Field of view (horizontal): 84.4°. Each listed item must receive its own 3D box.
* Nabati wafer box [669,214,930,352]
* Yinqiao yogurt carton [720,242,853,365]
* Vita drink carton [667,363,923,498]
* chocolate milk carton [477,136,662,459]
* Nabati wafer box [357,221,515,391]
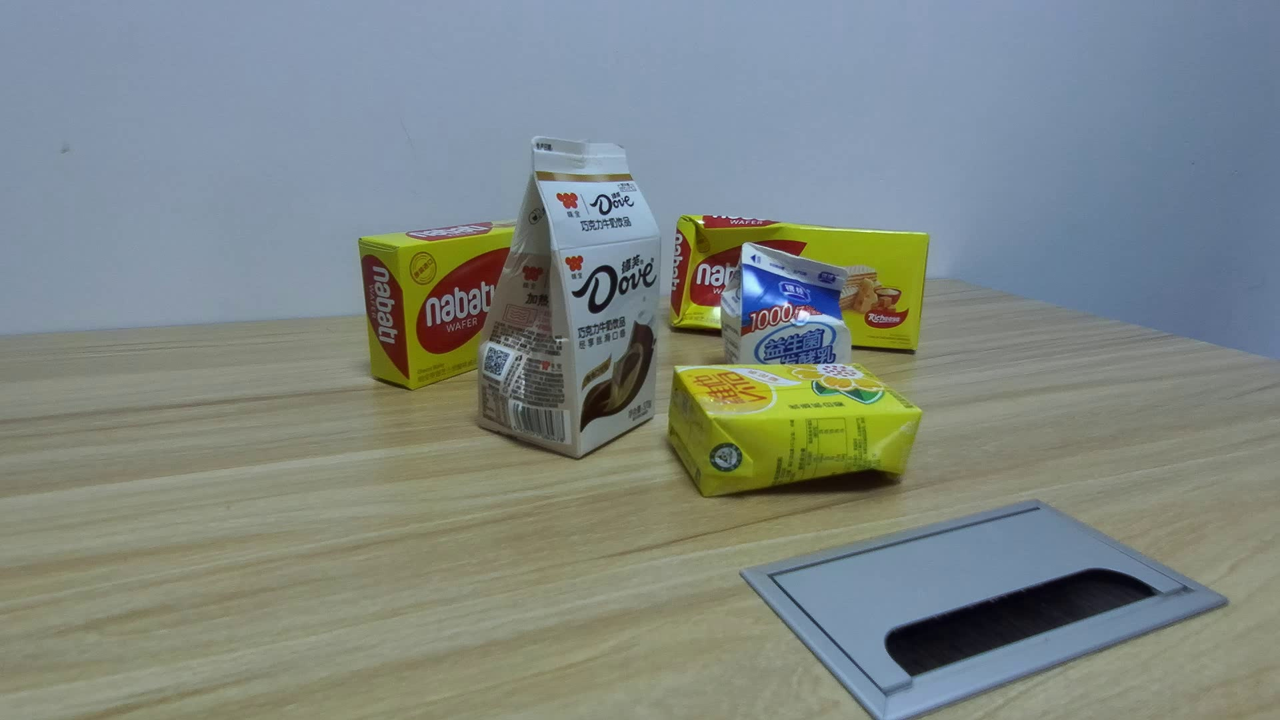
[{"bbox_3d":[0.126,-0.063,0.580,0.203,0.096,0.042,6,7,8],"label":"Nabati wafer box"},{"bbox_3d":[0.097,-0.030,0.466,0.083,0.093,0.077,2,19,3],"label":"Yinqiao yogurt carton"},{"bbox_3d":[0.075,0.034,0.352,0.109,0.043,0.076,0,20,-13],"label":"Vita drink carton"},{"bbox_3d":[-0.039,-0.037,0.379,0.072,0.155,0.084,14,22,32],"label":"chocolate milk carton"},{"bbox_3d":[-0.103,-0.051,0.518,0.042,0.093,0.204,14,21,33],"label":"Nabati wafer box"}]
